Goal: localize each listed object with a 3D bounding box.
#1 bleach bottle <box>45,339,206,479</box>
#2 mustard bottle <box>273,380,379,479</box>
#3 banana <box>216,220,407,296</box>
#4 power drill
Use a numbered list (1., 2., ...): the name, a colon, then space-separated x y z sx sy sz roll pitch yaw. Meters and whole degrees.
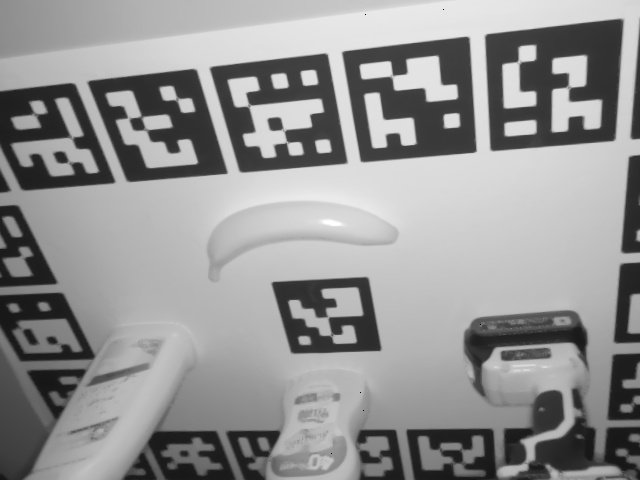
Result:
1. bleach bottle: -0.199 0.204 0.690 0.102 0.253 0.067 4 122 8
2. mustard bottle: 0.003 0.231 0.715 0.095 0.194 0.058 -9 120 17
3. banana: -0.018 0.016 0.662 0.196 0.039 0.074 -9 118 11
4. power drill: 0.175 0.197 0.631 0.184 0.189 0.057 -10 120 11
